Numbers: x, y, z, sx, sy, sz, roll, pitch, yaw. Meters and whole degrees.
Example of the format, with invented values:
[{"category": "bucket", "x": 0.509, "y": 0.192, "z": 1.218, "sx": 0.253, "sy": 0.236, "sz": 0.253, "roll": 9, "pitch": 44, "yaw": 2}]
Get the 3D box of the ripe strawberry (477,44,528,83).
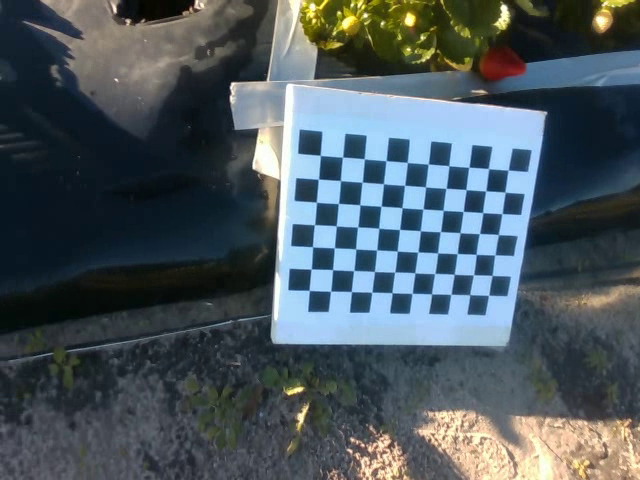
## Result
[{"category": "ripe strawberry", "x": 0.204, "y": -0.194, "z": 0.815, "sx": 0.063, "sy": 0.045, "sz": 0.048, "roll": 35, "pitch": 7, "yaw": 42}]
